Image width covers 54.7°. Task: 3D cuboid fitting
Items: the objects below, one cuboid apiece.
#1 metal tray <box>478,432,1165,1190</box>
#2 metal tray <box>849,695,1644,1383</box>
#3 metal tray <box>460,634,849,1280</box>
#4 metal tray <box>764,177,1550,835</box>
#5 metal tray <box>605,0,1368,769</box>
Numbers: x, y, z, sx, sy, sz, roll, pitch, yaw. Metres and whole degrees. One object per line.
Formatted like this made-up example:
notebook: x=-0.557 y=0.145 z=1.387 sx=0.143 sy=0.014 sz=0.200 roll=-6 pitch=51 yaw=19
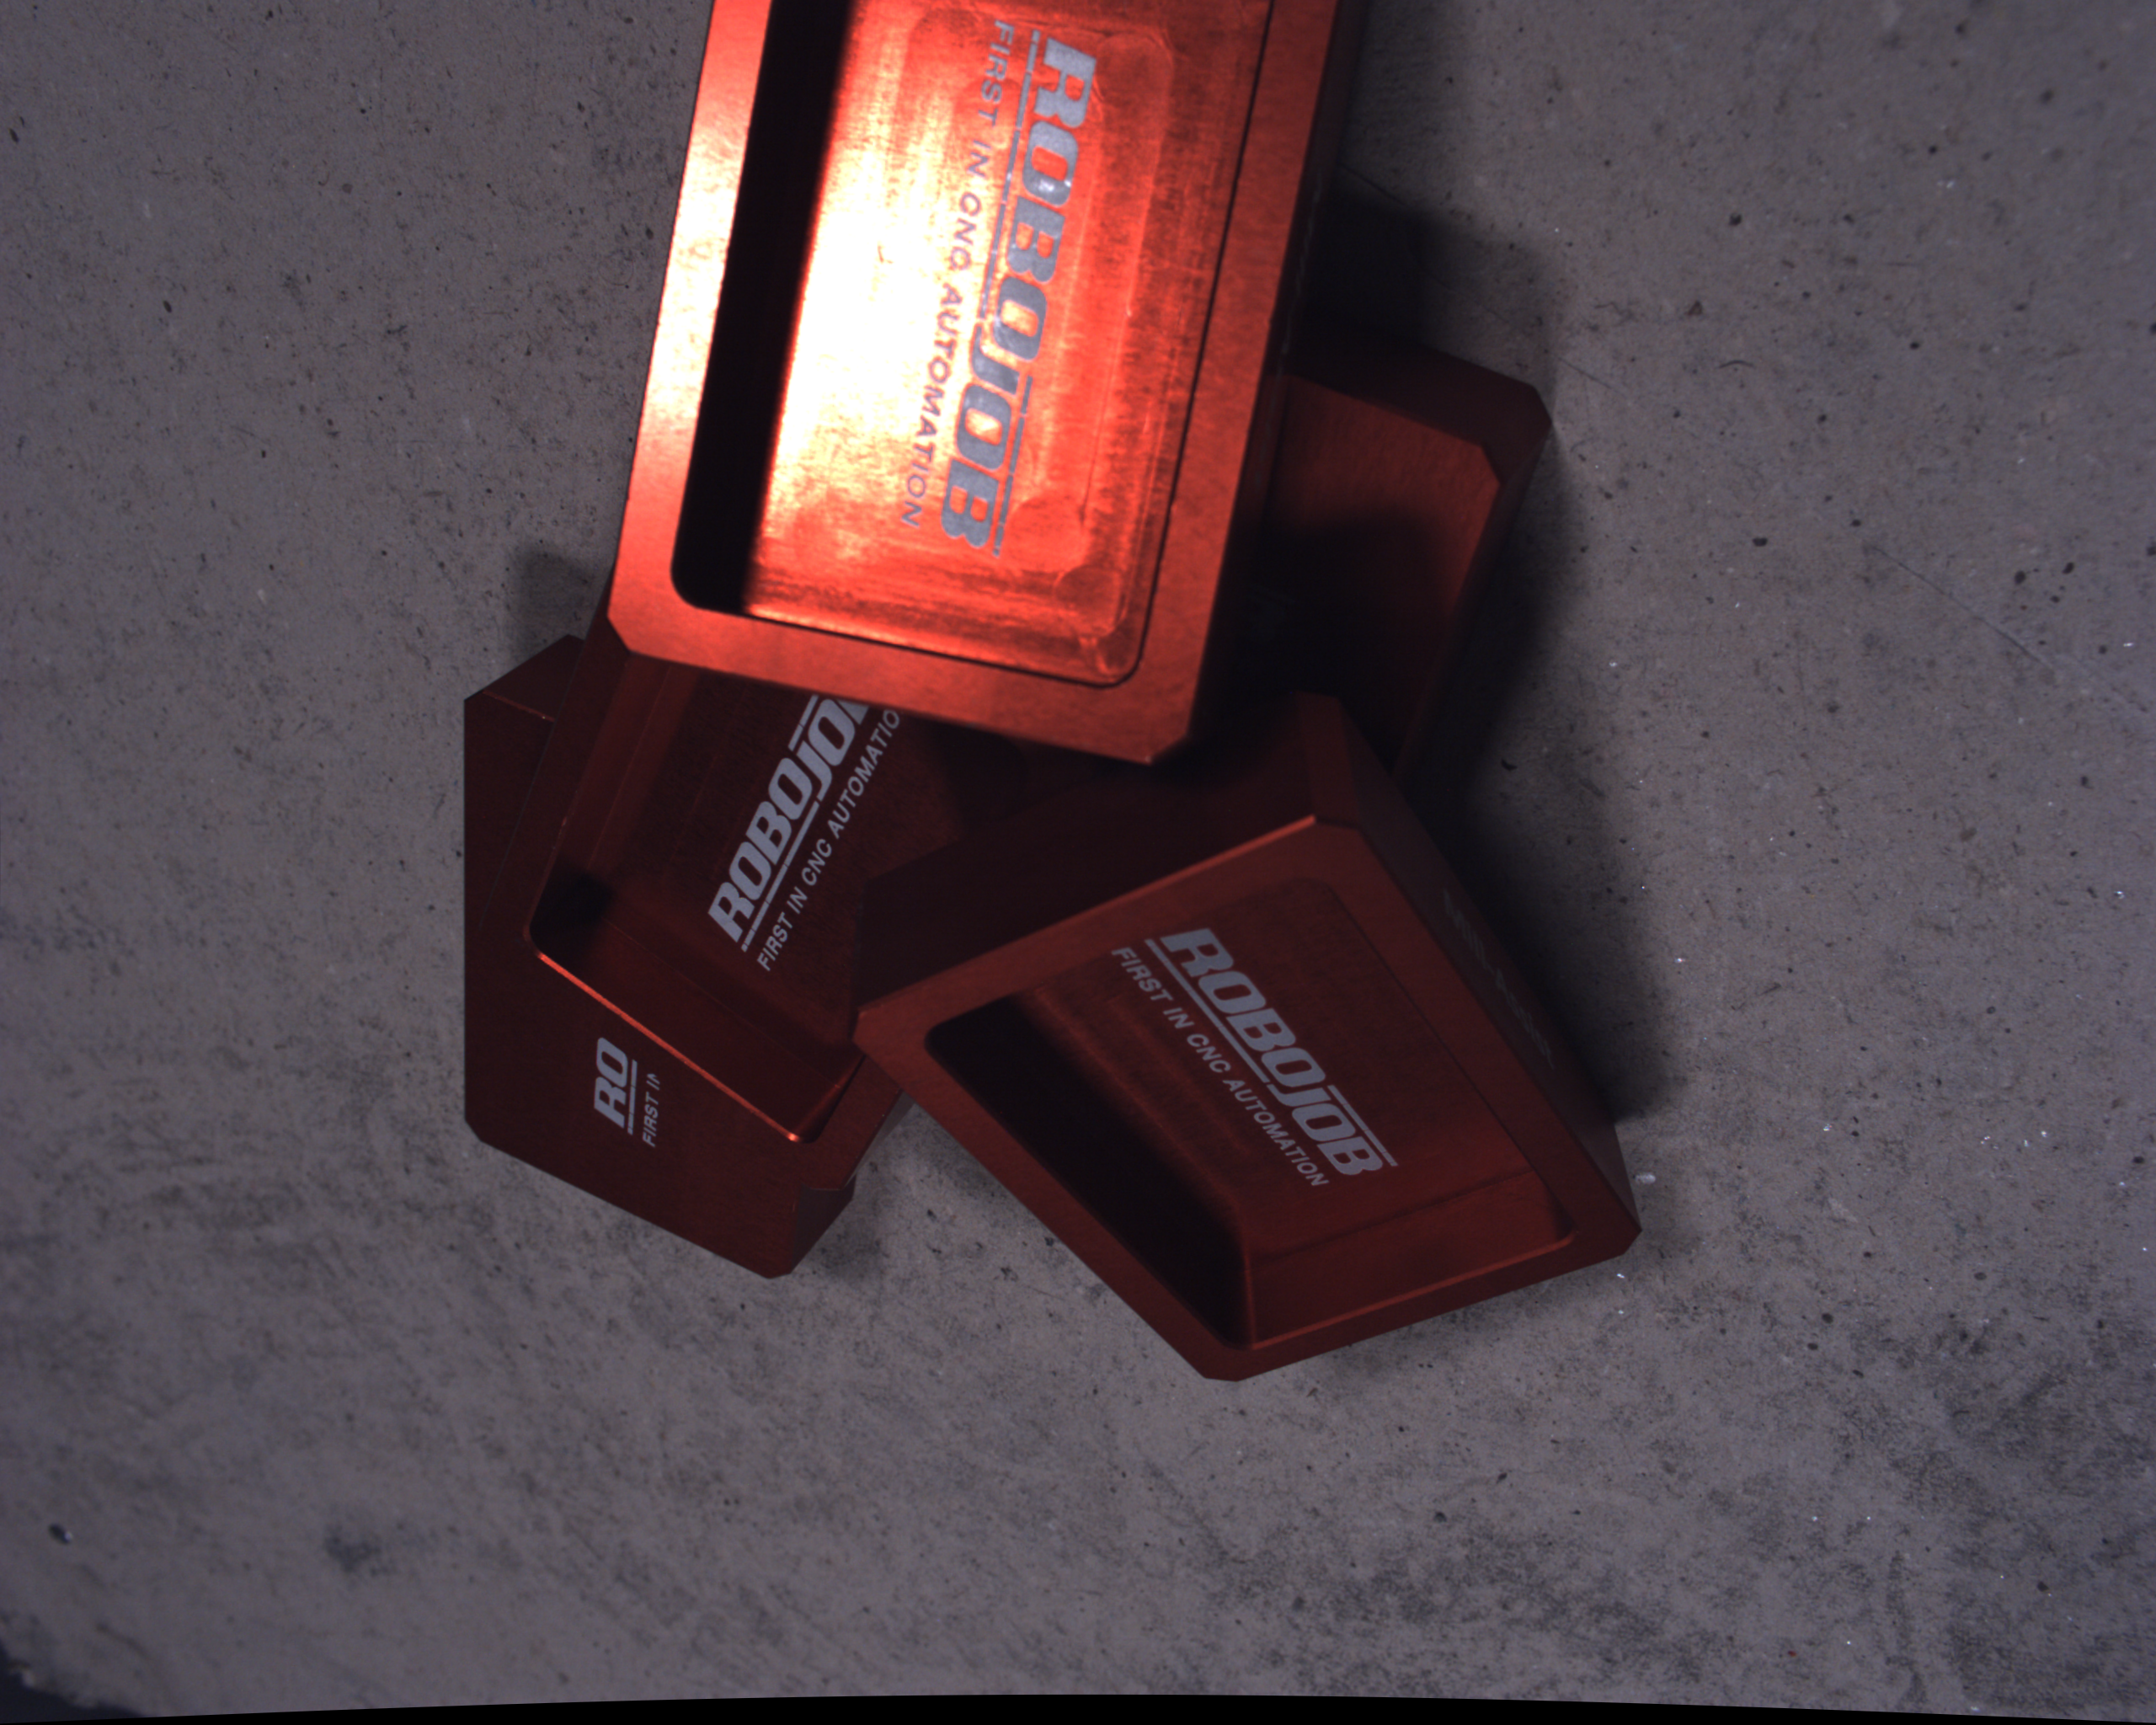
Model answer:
metal tray: x=-0.052 y=-0.007 z=0.388 sx=0.090 sy=0.030 sz=0.129 roll=36 pitch=129 yaw=4
metal tray: x=0.033 y=0.038 z=0.366 sx=0.090 sy=0.030 sz=0.130 roll=-24 pitch=131 yaw=19
metal tray: x=-0.091 y=0.024 z=0.465 sx=0.090 sy=0.030 sz=0.129 roll=22 pitch=127 yaw=14
metal tray: x=0.004 y=-0.060 z=0.365 sx=0.130 sy=0.030 sz=0.089 roll=24 pitch=127 yaw=13
metal tray: x=-0.013 y=-0.086 z=0.313 sx=0.090 sy=0.030 sz=0.129 roll=12 pitch=96 yaw=9
